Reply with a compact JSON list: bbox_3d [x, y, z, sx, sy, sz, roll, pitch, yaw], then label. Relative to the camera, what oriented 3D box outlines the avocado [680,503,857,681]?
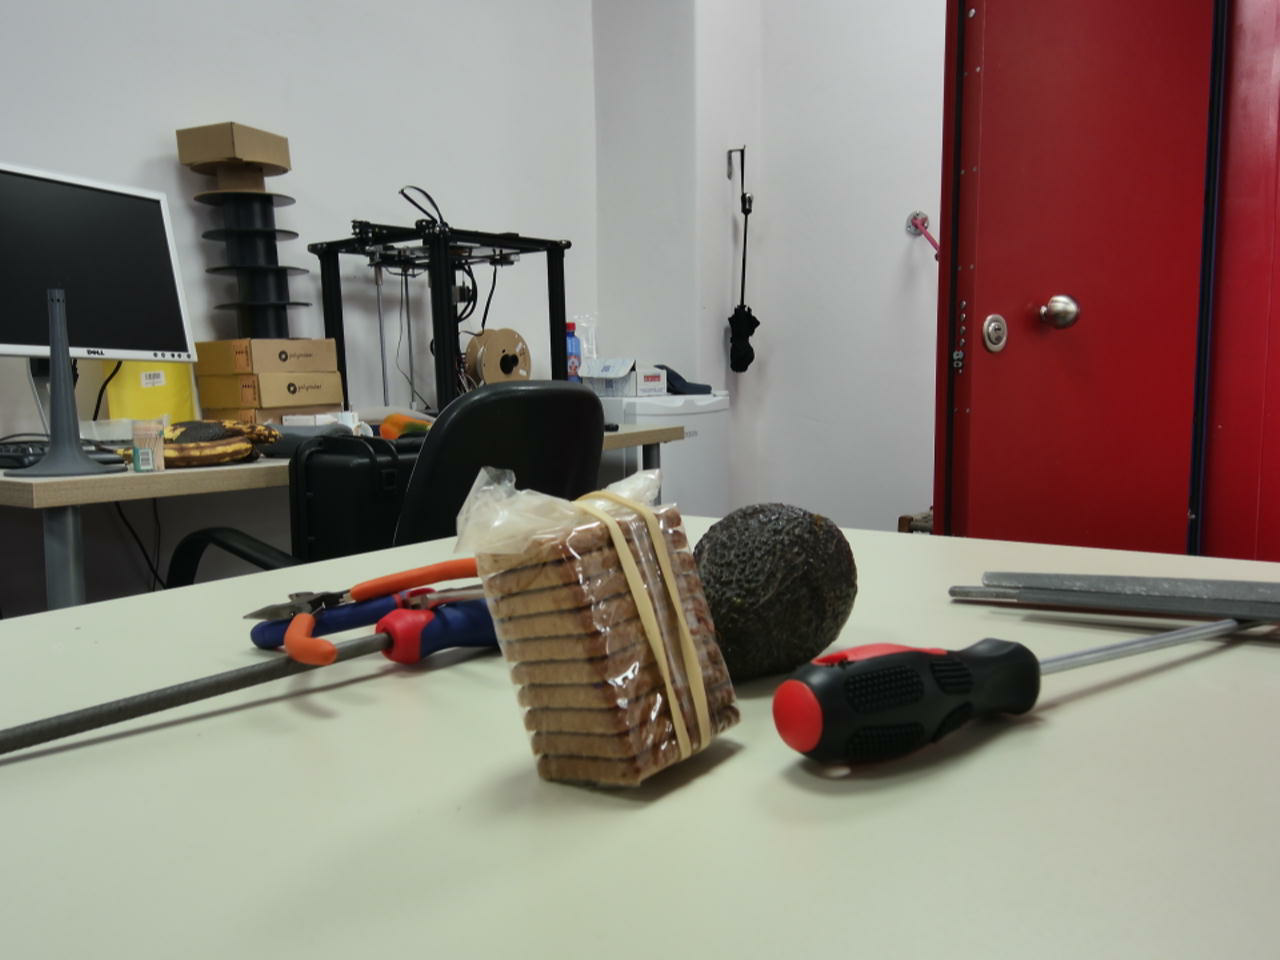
[{"bbox_3d":[0.051,0.045,0.424,0.090,0.069,0.070,-2,3,-27],"label":"avocado"}]
